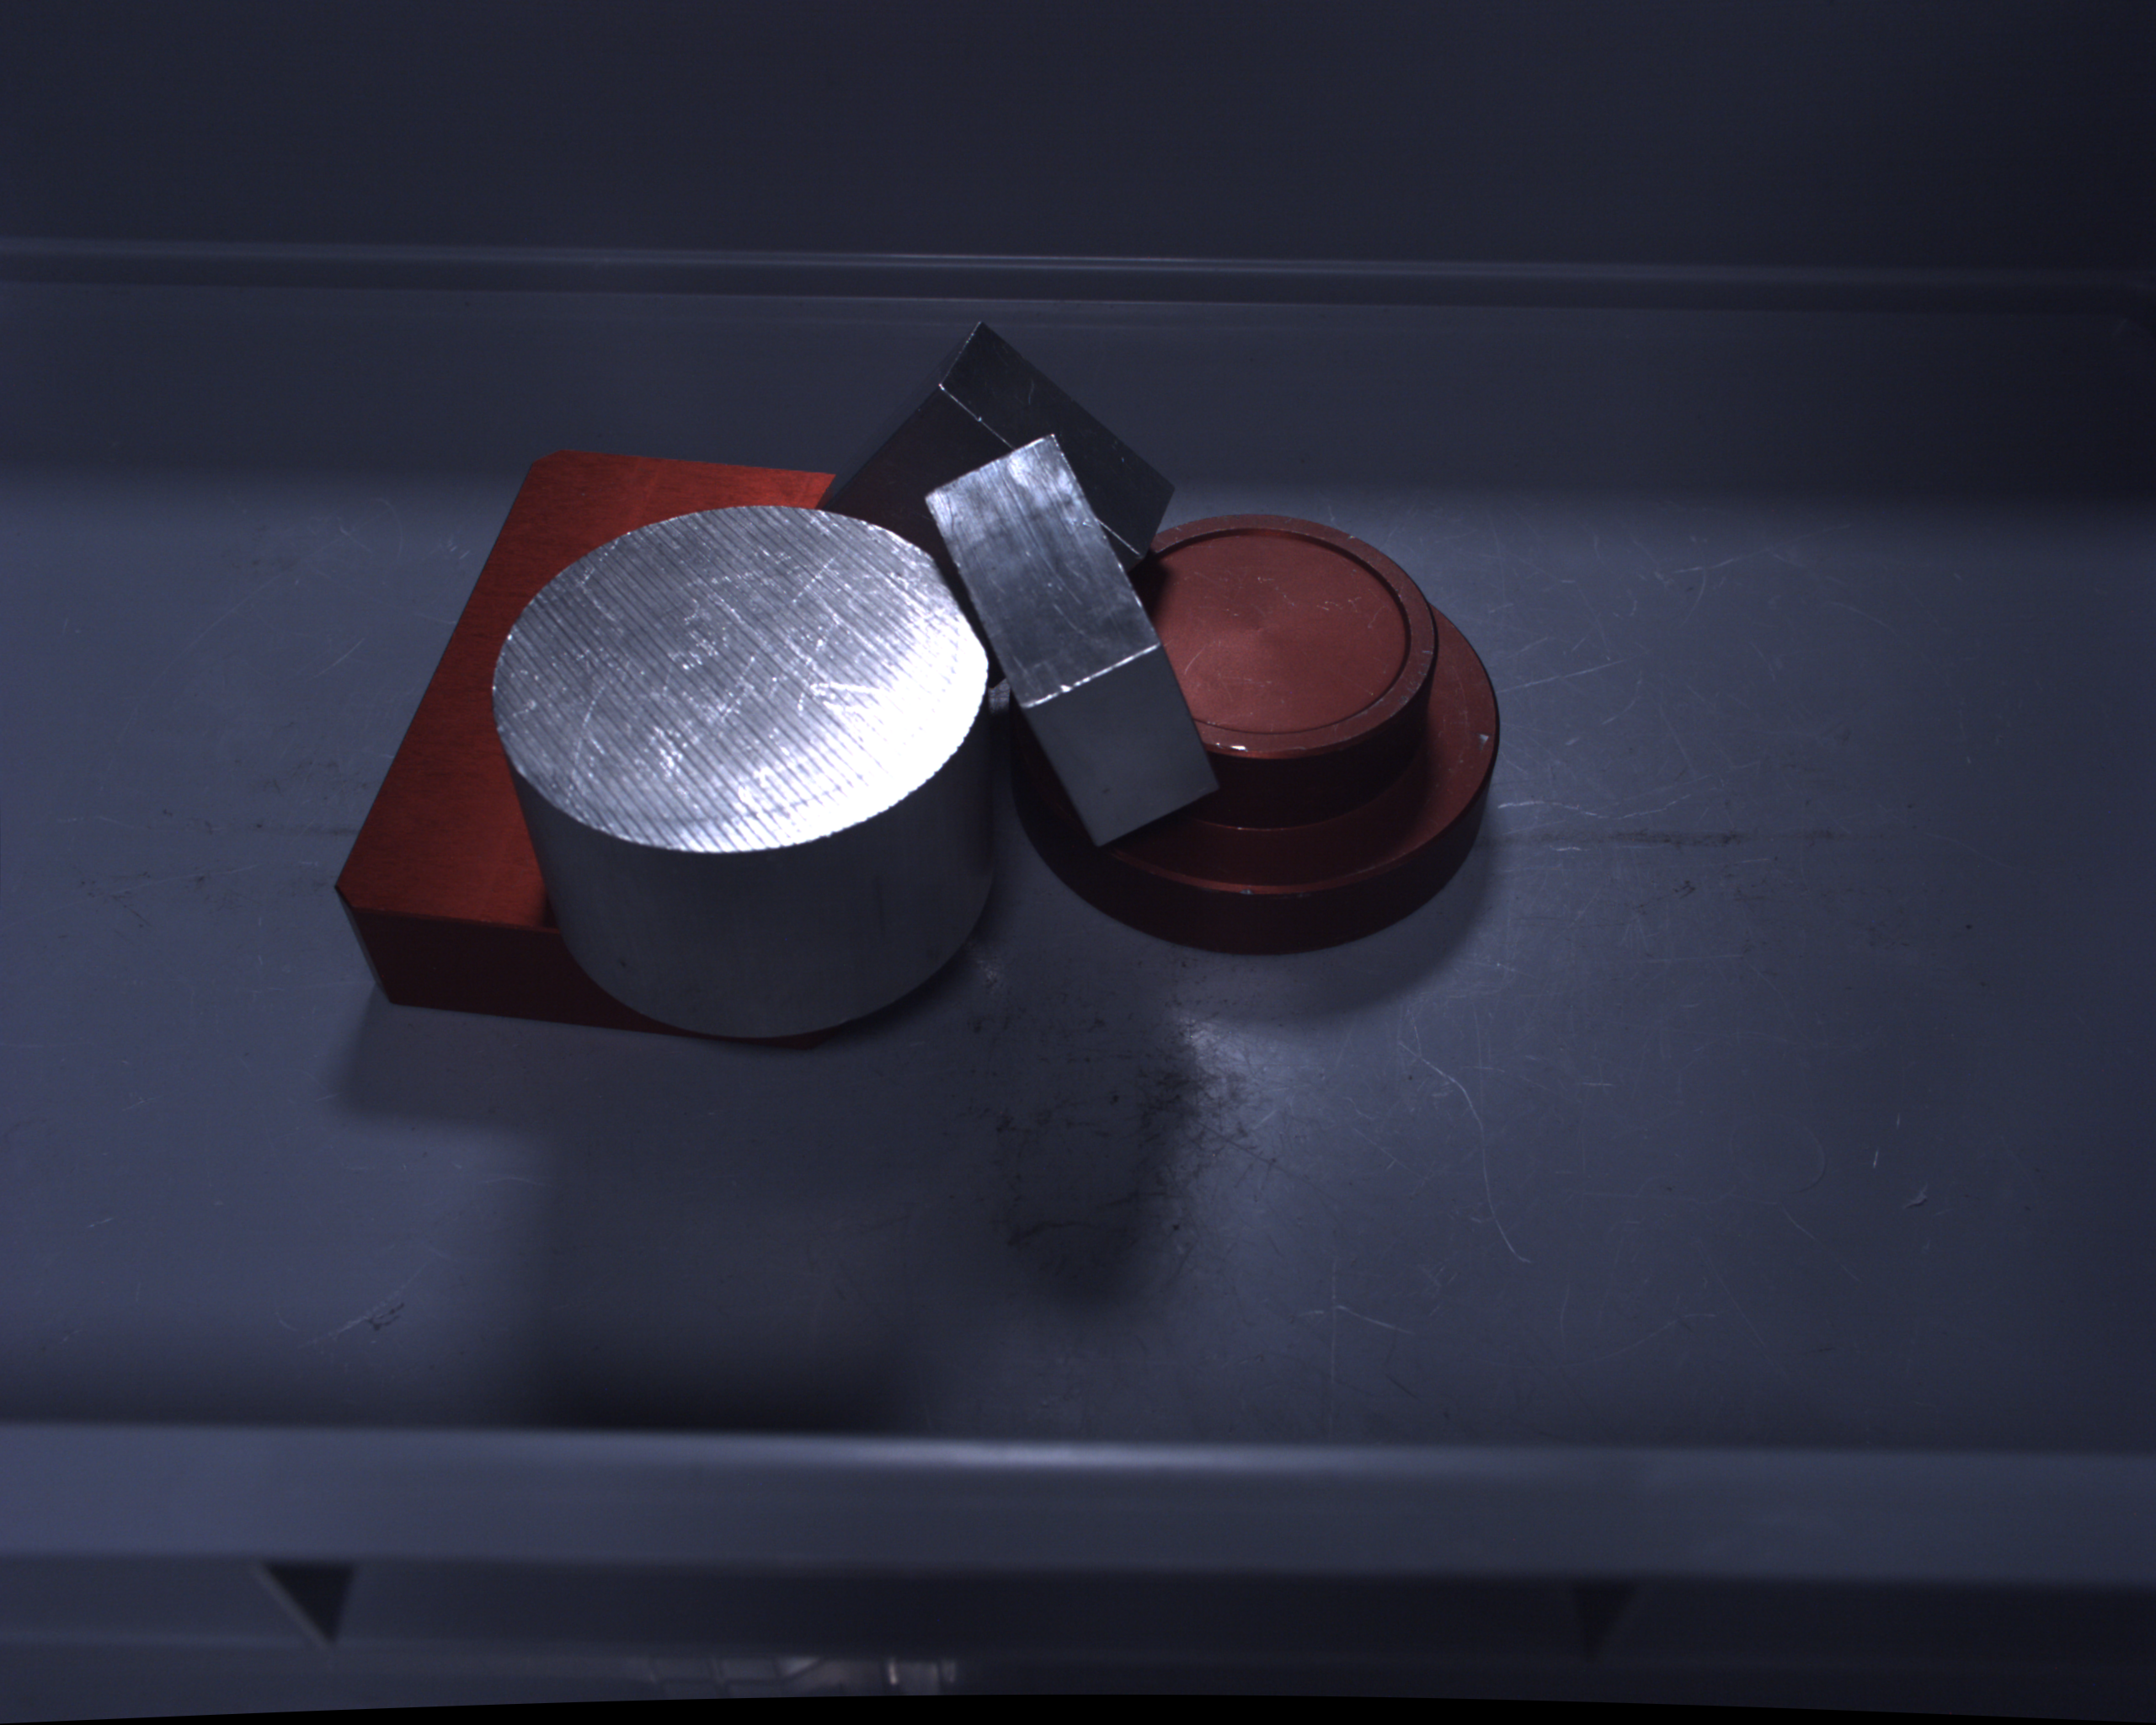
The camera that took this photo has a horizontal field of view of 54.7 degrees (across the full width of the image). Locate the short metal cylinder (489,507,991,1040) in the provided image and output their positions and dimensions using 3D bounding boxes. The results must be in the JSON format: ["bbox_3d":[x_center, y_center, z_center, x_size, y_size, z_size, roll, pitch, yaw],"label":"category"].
[{"bbox_3d":[-0.056,-0.016,0.361,0.081,0.050,0.080,0,50,0],"label":"short metal cylinder"}]

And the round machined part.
[{"bbox_3d":[0.035,-0.032,0.419,0.099,0.042,0.098,0,50,0],"label":"round machined part"}]

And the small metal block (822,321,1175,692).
[{"bbox_3d":[-0.018,-0.069,0.411,0.050,0.050,0.025,38,44,-17],"label":"small metal block"}]

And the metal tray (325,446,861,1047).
[{"bbox_3d":[-0.082,-0.028,0.420,0.091,0.030,0.130,6,50,4],"label":"metal tray"}]

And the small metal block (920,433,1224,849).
[{"bbox_3d":[0.000,-0.038,0.368,0.025,0.050,0.050,-26,60,2],"label":"small metal block"}]
